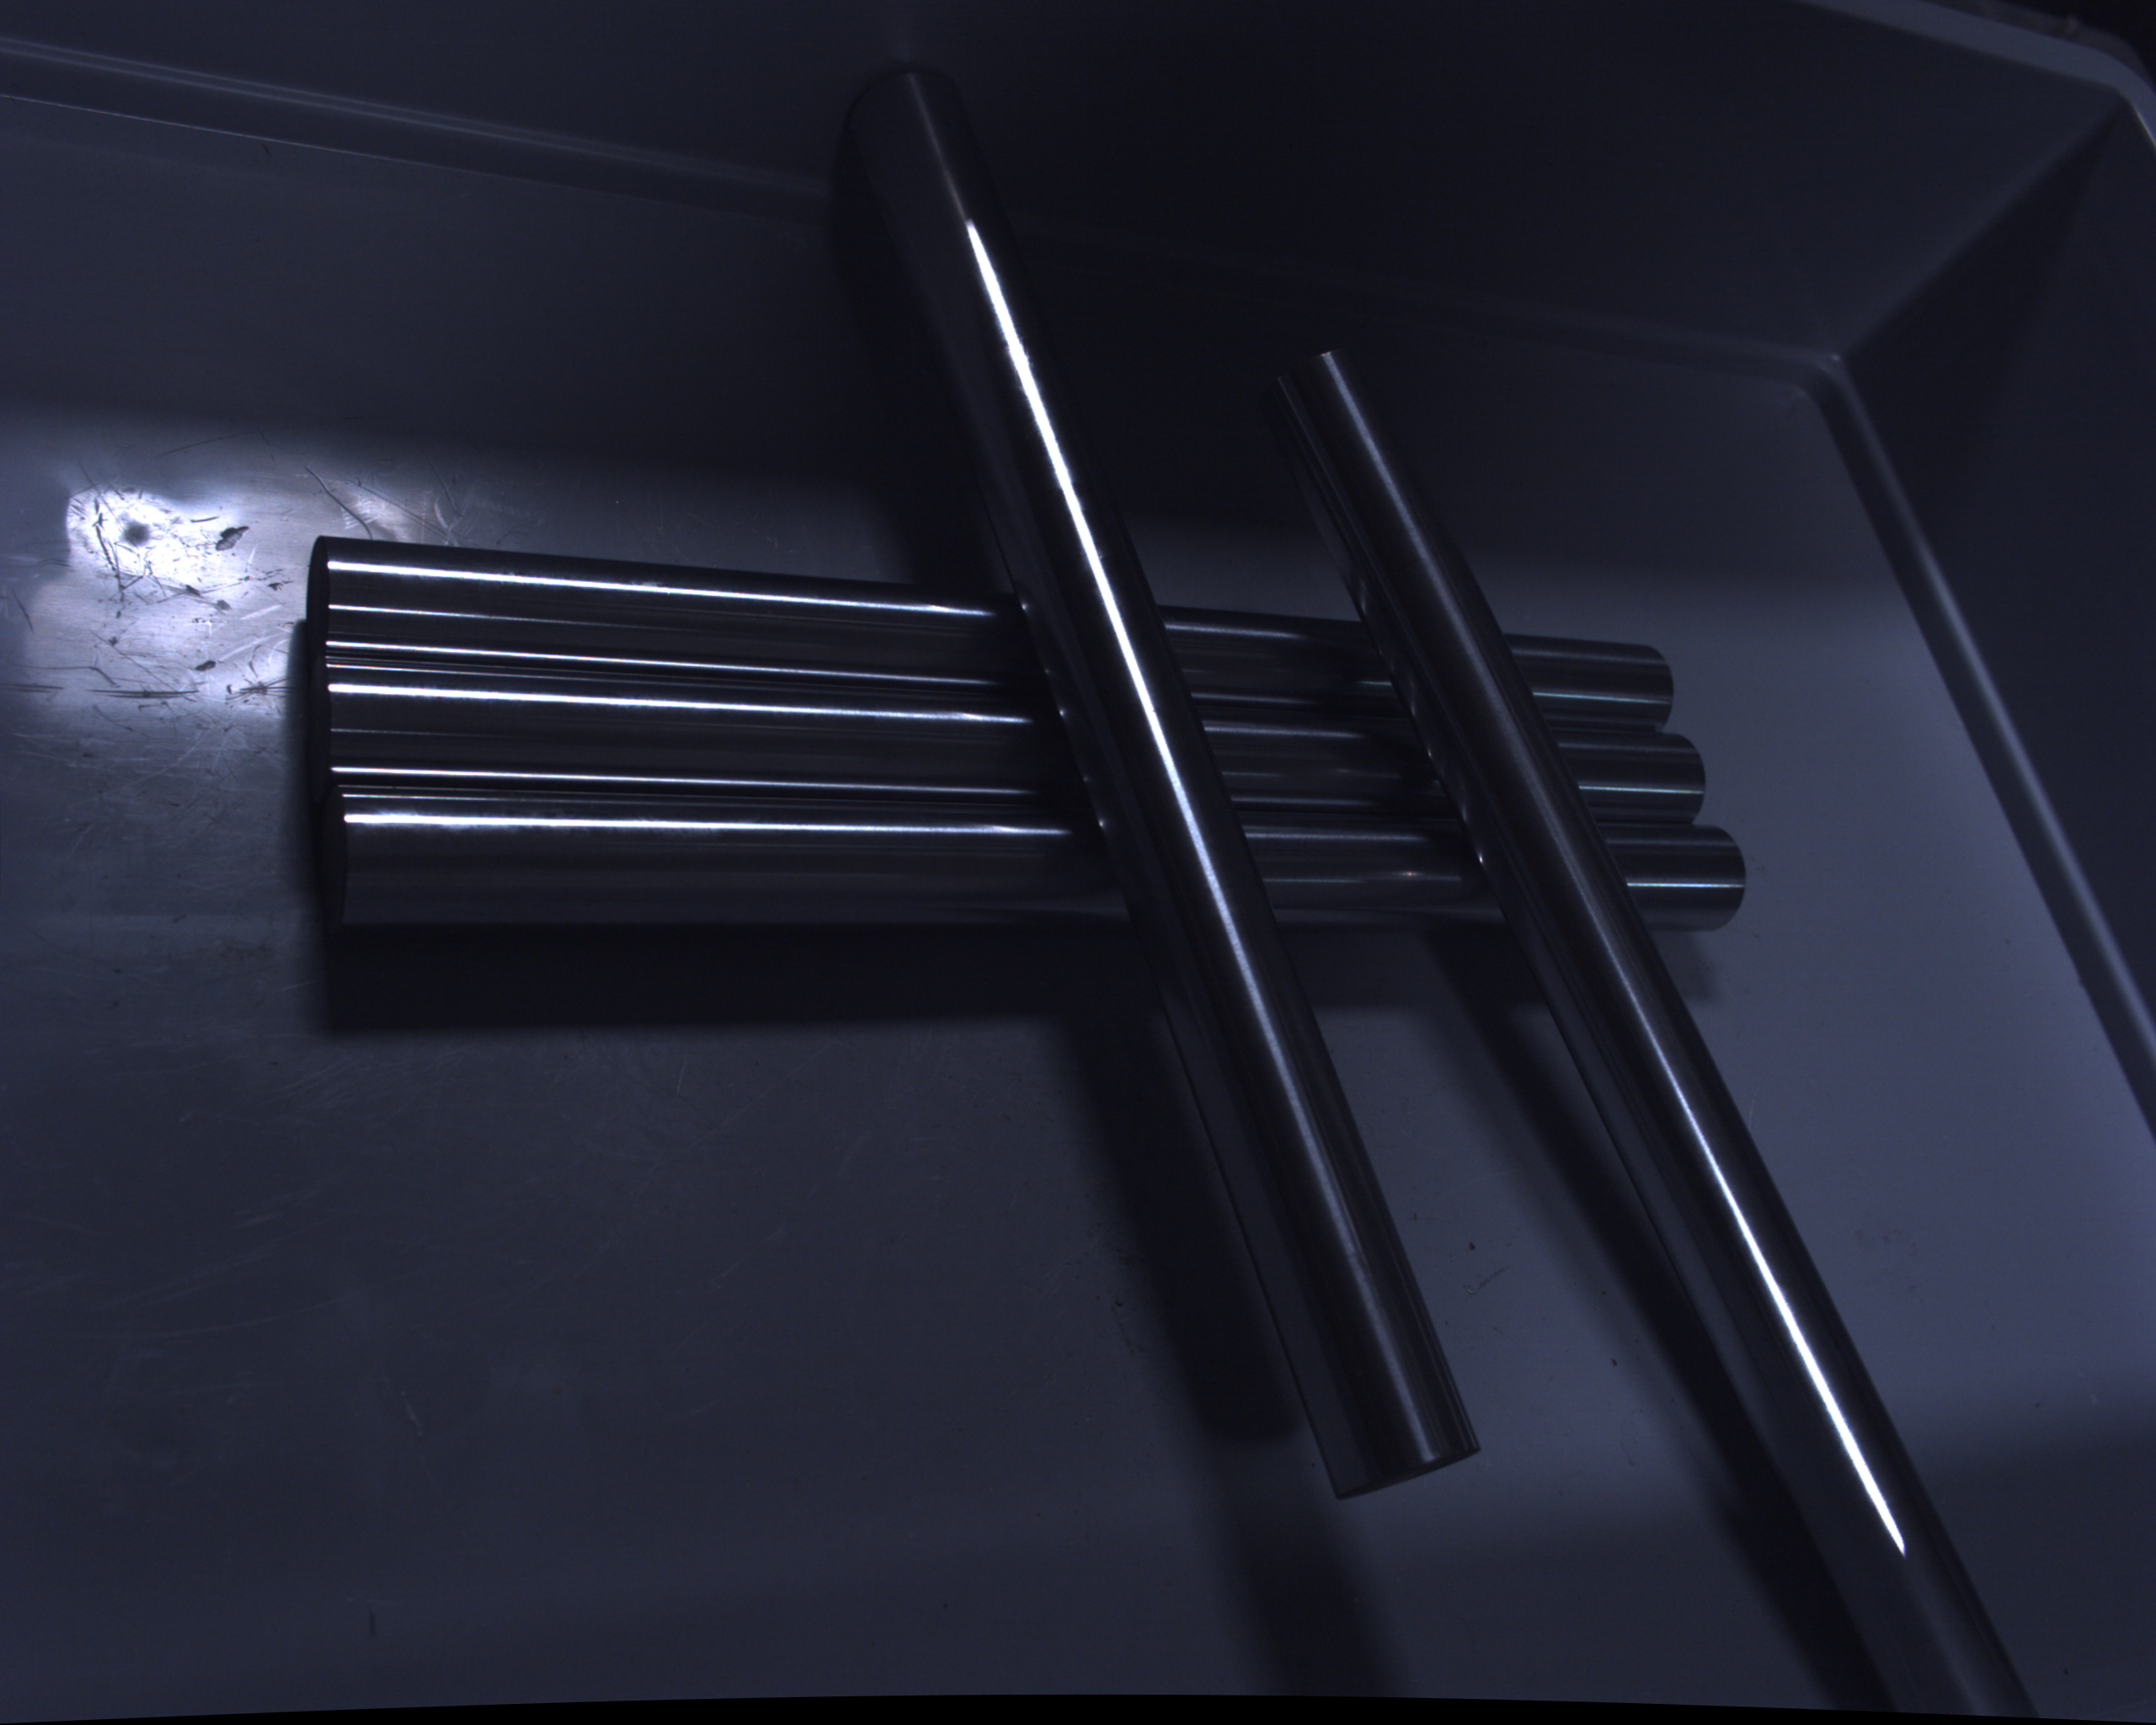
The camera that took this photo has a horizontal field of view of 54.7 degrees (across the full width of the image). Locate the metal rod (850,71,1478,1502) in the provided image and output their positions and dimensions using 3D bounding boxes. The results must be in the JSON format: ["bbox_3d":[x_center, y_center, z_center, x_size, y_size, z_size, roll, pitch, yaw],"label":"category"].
[{"bbox_3d":[0.008,-0.031,0.396,0.025,0.025,0.299,-5,64,-31],"label":"metal rod"}]

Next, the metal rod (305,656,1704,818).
[{"bbox_3d":[0.006,-0.020,0.421,0.303,0.025,0.025,1,62,-28],"label":"metal rod"}]

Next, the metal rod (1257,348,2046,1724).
[{"bbox_3d":[0.110,0.031,0.421,0.025,0.025,0.299,-17,78,-35],"label":"metal rod"}]

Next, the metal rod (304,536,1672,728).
[{"bbox_3d":[0.001,-0.042,0.432,0.303,0.025,0.025,1,62,-28],"label":"metal rod"}]

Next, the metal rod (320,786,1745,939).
[{"bbox_3d":[0.012,0.002,0.411,0.303,0.025,0.025,1,62,-28],"label":"metal rod"}]
